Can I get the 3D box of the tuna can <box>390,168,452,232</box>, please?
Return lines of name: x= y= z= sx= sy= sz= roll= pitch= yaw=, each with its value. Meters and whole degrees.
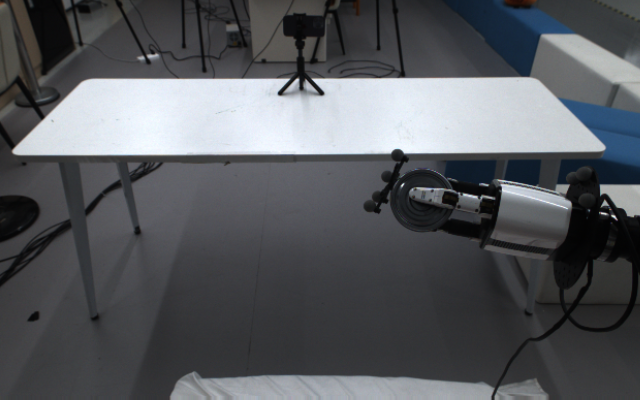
tuna can: x=0.140 y=-0.002 z=0.654 sx=0.085 sy=0.085 sz=0.034 roll=9 pitch=-5 yaw=10
